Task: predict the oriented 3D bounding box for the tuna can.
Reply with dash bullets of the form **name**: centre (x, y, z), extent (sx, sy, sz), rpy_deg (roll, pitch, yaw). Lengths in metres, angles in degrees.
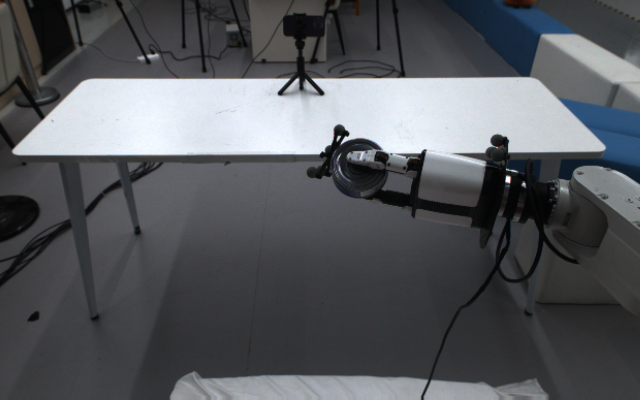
- **tuna can**: centre (0.061, -0.049, 0.721), extent (0.085, 0.034, 0.085), rpy_deg (-2, 71, 6)
